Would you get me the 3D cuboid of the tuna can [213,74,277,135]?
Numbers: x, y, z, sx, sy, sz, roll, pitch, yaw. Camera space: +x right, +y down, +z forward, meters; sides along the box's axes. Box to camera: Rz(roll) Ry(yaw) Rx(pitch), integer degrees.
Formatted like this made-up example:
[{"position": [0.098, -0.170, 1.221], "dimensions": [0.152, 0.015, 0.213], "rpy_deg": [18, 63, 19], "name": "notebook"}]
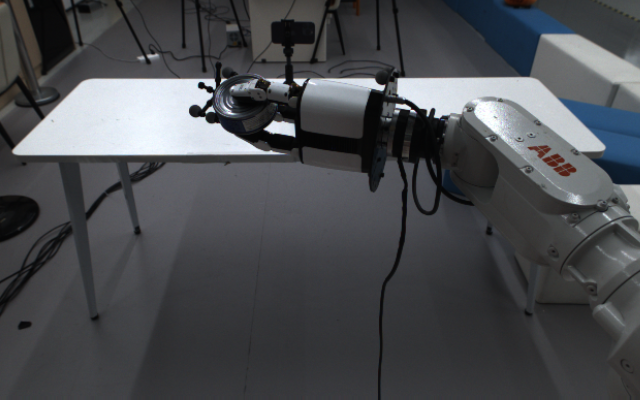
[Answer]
[{"position": [-0.103, -0.135, 0.669], "dimensions": [0.085, 0.034, 0.085], "rpy_deg": [-3, 59, 6], "name": "tuna can"}]
